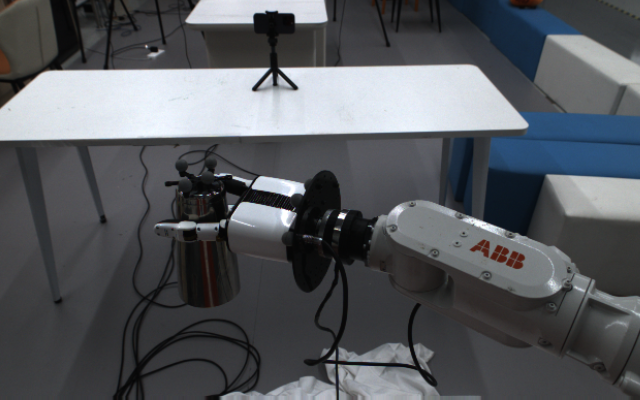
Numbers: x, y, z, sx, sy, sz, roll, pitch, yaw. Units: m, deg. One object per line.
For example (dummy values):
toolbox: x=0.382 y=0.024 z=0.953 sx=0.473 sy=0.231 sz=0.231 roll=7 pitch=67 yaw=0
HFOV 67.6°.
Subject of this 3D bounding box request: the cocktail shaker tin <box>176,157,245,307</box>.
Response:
cocktail shaker tin: x=-0.162 y=0.055 z=0.694 sx=0.093 sy=0.170 sz=0.093 roll=1 pitch=27 yaw=-1
